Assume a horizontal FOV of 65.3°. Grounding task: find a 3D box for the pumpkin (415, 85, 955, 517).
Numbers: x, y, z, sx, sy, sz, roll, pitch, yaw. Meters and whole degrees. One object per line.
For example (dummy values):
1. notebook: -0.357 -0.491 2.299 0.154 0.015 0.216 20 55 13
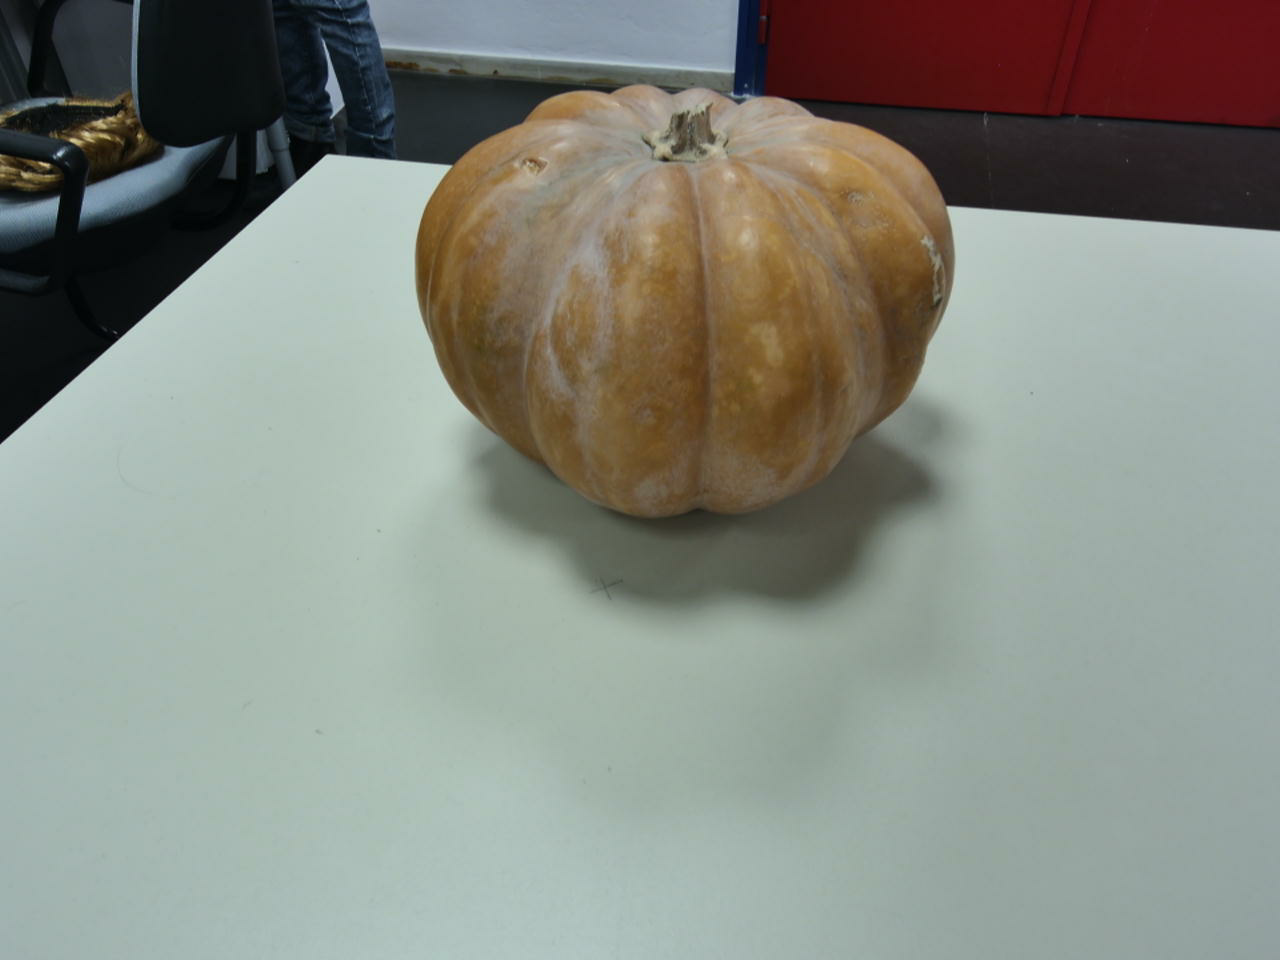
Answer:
1. pumpkin: 0.020 -0.099 0.513 0.277 0.181 0.277 0 39 0
